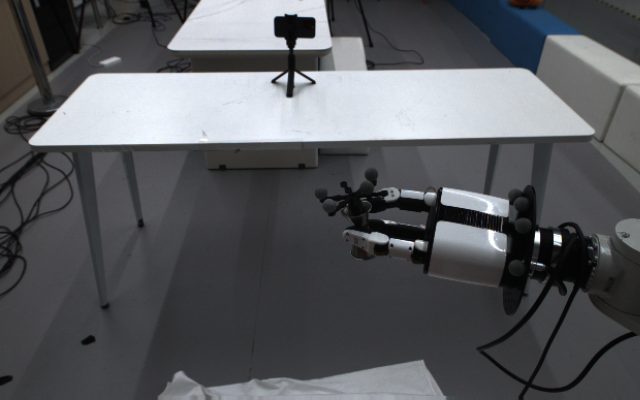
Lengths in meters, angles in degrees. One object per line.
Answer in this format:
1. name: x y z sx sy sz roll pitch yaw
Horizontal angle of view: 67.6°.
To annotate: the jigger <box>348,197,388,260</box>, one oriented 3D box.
1. jigger: 0.055 0.039 0.633 0.043 0.071 0.043 -12 29 7
